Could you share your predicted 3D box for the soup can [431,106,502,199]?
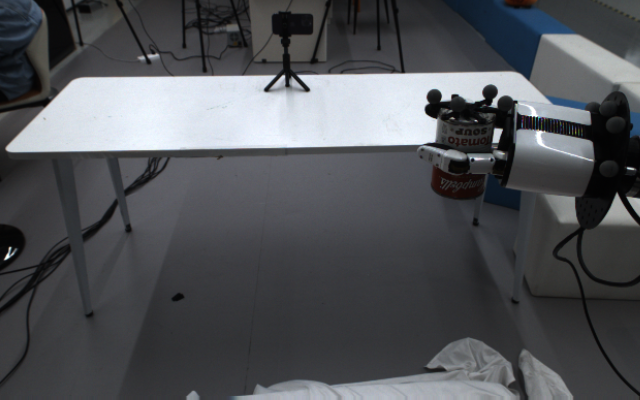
[{"bbox_3d":[0.177,-0.061,0.596,0.067,0.101,0.067,-2,33,1],"label":"soup can"}]
